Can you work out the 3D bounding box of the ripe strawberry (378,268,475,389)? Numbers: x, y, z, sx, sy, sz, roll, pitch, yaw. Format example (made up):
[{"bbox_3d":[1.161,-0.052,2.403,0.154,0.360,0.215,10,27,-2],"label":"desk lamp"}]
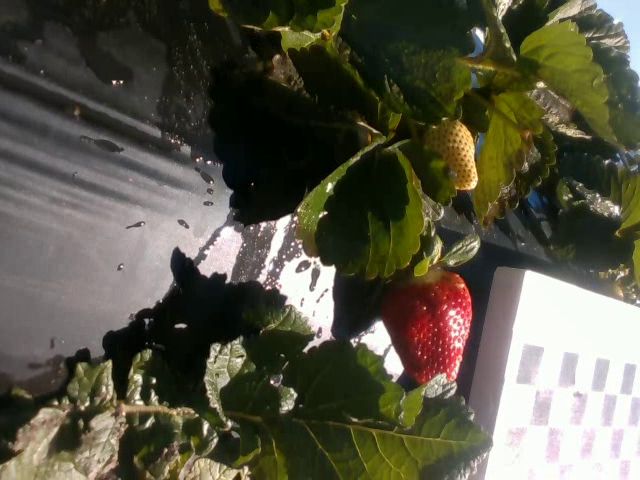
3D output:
[{"bbox_3d":[0.056,0.046,0.300,0.048,0.069,0.040,-7,4,-38],"label":"ripe strawberry"}]
